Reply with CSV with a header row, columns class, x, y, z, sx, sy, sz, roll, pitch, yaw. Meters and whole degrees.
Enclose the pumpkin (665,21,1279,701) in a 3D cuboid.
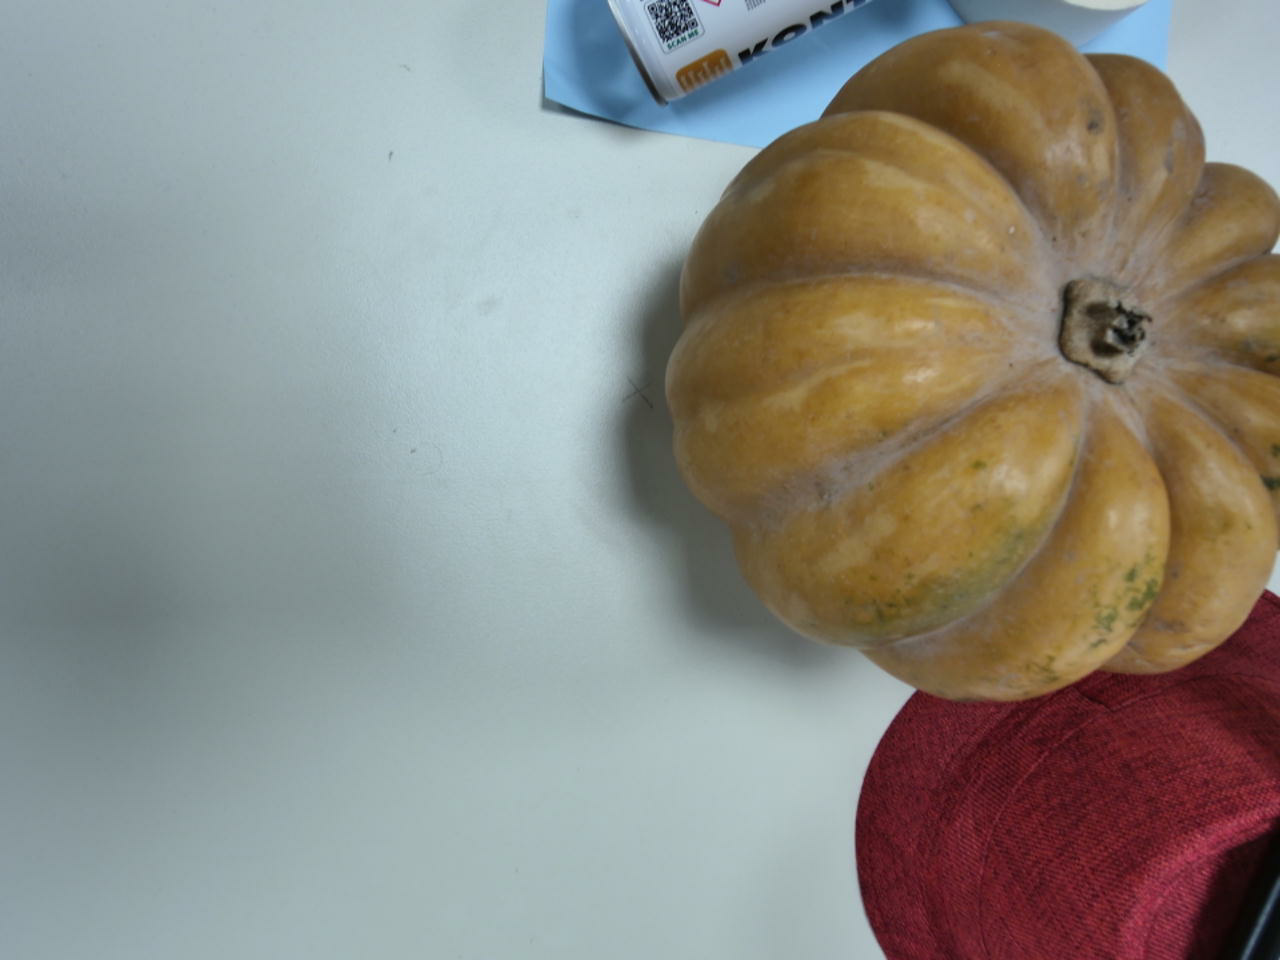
class,x,y,z,sx,sy,sz,roll,pitch,yaw
pumpkin,0.120,-0.035,0.362,0.230,0.194,0.230,0,91,-12
